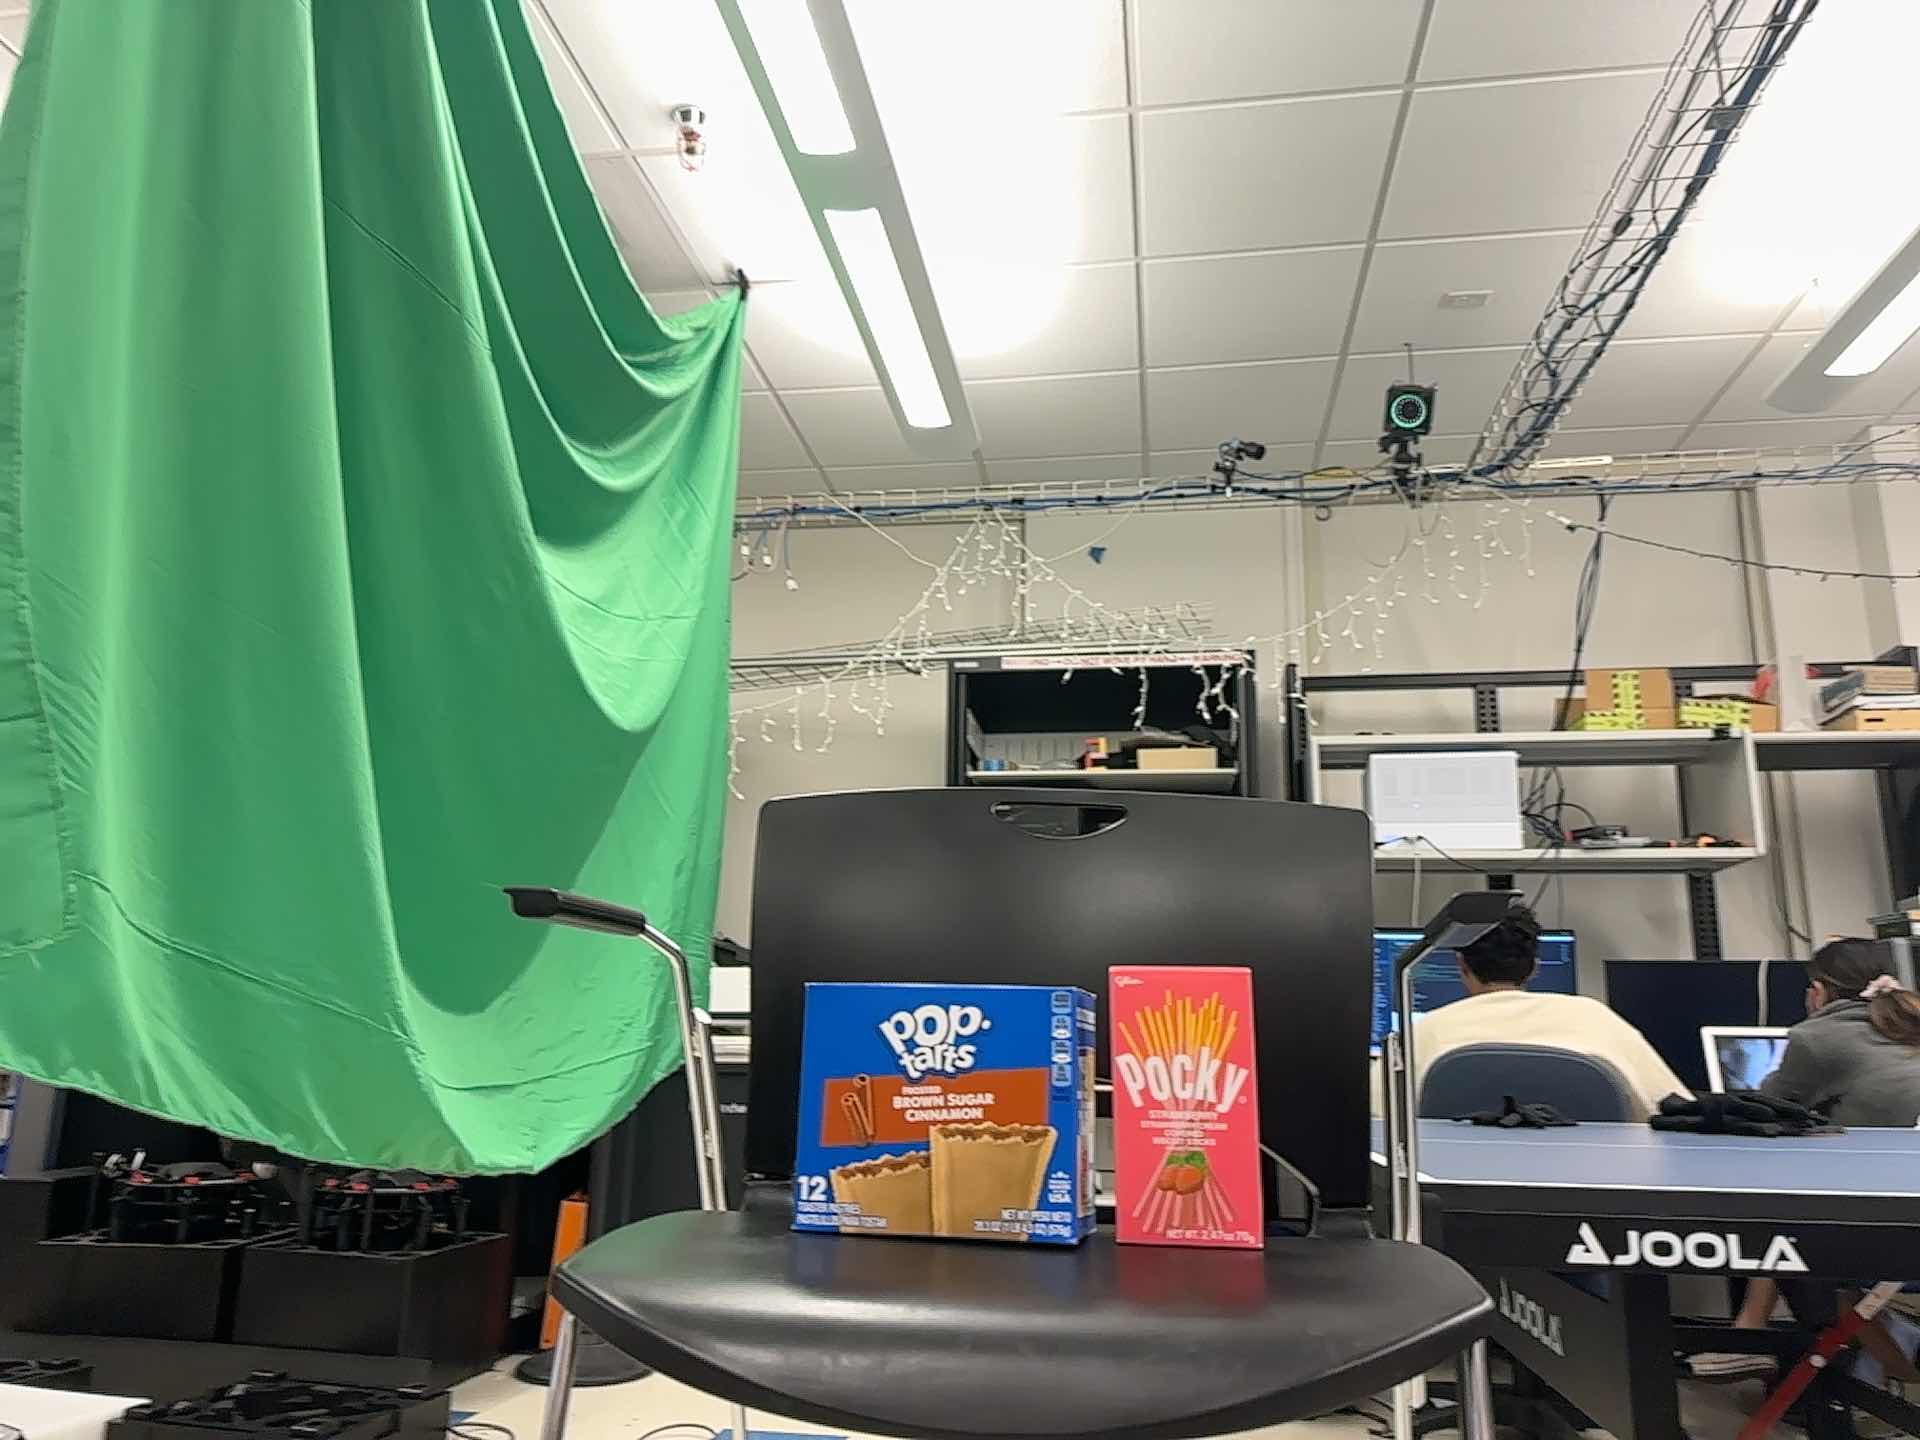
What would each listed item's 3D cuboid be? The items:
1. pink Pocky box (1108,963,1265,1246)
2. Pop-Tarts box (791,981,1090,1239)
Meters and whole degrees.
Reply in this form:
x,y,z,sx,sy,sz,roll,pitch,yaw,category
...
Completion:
x,y,z,sx,sy,sz,roll,pitch,yaw,category
0.128,0.217,0.770,0.084,0.155,0.029,0,-8,5,pink Pocky box
-0.009,0.231,0.813,0.161,0.135,0.075,-1,-13,9,Pop-Tarts box
